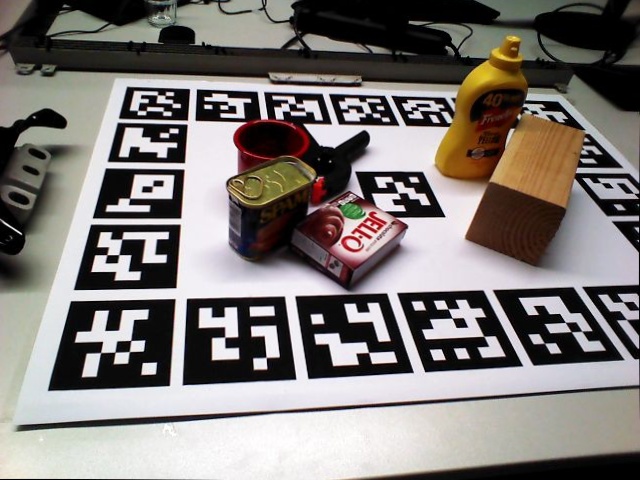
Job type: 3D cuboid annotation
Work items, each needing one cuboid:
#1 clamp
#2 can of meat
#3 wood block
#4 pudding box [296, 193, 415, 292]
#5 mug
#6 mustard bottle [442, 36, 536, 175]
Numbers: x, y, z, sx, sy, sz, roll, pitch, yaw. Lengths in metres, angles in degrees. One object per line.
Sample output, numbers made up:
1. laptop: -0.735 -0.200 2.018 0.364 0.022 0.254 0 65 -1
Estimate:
1. clamp: 0.015 -0.115 0.714 0.122 0.037 0.164 14 45 3
2. can of meat: -0.055 -0.036 0.572 0.101 0.084 0.058 -25 54 -30
3. wood block: 0.283 -0.067 0.664 0.090 0.091 0.204 24 43 19
4. pudding box: 0.042 -0.002 0.591 0.090 0.039 0.113 36 48 25
5. mug: -0.061 -0.090 0.669 0.093 0.082 0.116 15 45 6
6. mustard bottle: 0.235 -0.178 0.692 0.096 0.192 0.058 -5 46 -13
